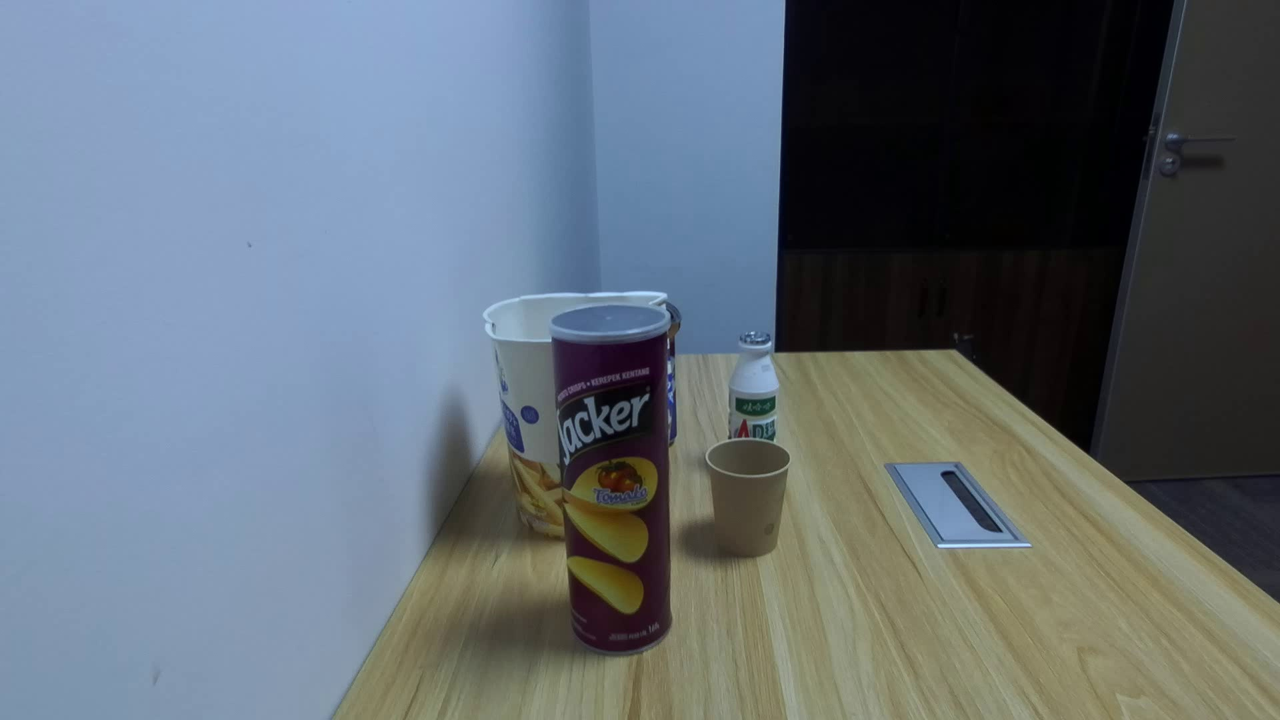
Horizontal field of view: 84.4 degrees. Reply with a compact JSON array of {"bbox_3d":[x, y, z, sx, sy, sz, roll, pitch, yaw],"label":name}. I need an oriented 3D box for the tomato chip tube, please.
[{"bbox_3d":[-0.015,0.084,0.492,0.078,0.234,0.078,-2,19,1],"label":"tomato chip tube"}]

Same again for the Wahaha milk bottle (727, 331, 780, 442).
[{"bbox_3d":[0.117,0.046,0.737,0.053,0.147,0.053,-1,17,0],"label":"Wahaha milk bottle"}]

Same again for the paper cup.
[{"bbox_3d":[0.094,0.121,0.613,0.075,0.082,0.075,-1,17,1],"label":"paper cup"}]
